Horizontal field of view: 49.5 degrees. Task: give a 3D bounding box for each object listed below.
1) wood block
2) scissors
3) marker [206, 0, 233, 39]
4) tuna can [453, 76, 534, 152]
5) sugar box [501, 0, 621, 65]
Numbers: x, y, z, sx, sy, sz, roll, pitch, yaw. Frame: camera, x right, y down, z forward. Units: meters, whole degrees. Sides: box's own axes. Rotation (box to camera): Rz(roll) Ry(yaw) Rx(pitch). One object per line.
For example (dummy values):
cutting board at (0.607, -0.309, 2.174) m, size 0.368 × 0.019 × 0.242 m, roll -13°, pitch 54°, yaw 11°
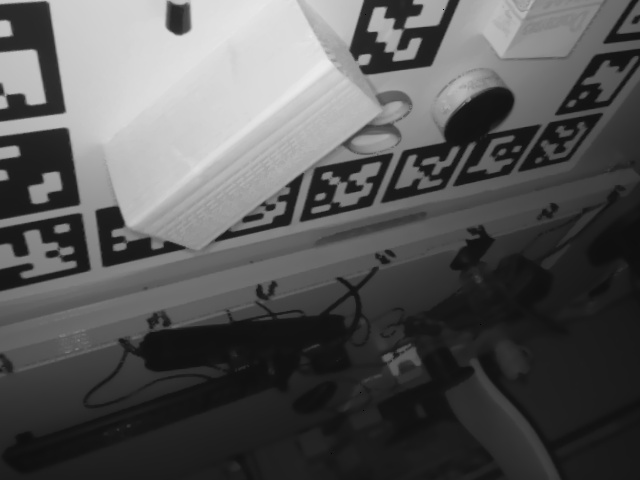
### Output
wood block at (-0.049, -0.100, 0.601) m, size 0.204 × 0.091 × 0.090 m, roll -36°, pitch 149°, yaw 15°
scissors at (0.030, -0.111, 0.715) m, size 0.206 × 0.016 × 0.086 m, roll -10°, pitch 144°, yaw -32°
marker at (-0.068, -0.199, 0.499) m, size 0.020 × 0.019 × 0.119 m, roll -12°, pitch 143°, yaw -25°
tuna can at (0.193, -0.141, 0.775) m, size 0.086 × 0.034 × 0.085 m, roll -21°, pitch 148°, yaw -13°
sugar box at (0.251, -0.248, 0.659) m, size 0.094 × 0.045 × 0.174 m, roll -9°, pitch 144°, yaw -27°
